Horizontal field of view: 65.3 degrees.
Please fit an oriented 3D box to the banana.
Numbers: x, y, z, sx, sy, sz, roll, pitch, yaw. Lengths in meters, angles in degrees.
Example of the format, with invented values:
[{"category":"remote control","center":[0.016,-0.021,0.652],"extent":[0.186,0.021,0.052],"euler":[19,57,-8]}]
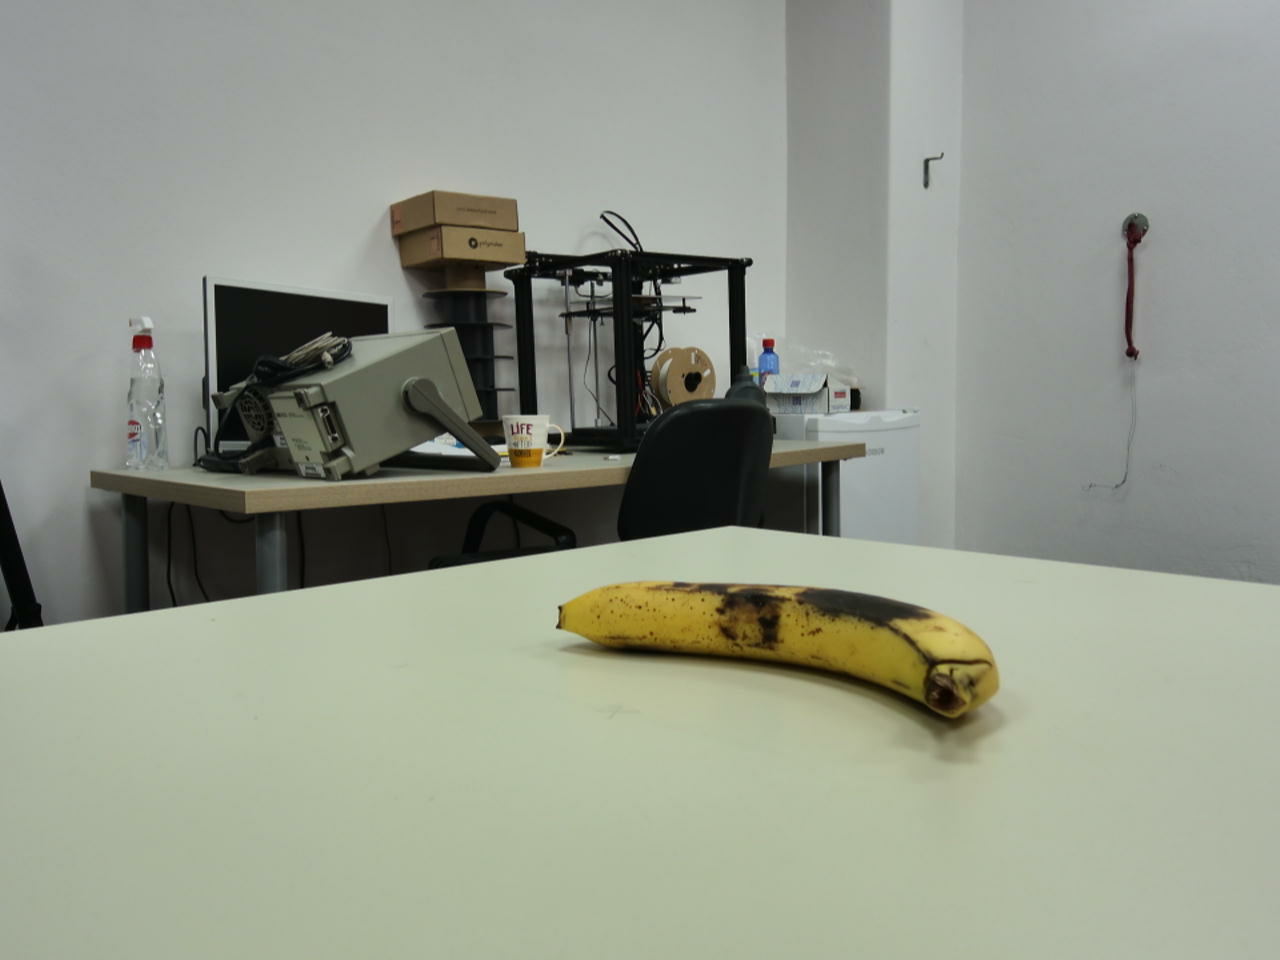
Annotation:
[{"category":"banana","center":[0.061,0.068,0.441],"extent":[0.084,0.037,0.222],"euler":[-2,4,-40]}]
